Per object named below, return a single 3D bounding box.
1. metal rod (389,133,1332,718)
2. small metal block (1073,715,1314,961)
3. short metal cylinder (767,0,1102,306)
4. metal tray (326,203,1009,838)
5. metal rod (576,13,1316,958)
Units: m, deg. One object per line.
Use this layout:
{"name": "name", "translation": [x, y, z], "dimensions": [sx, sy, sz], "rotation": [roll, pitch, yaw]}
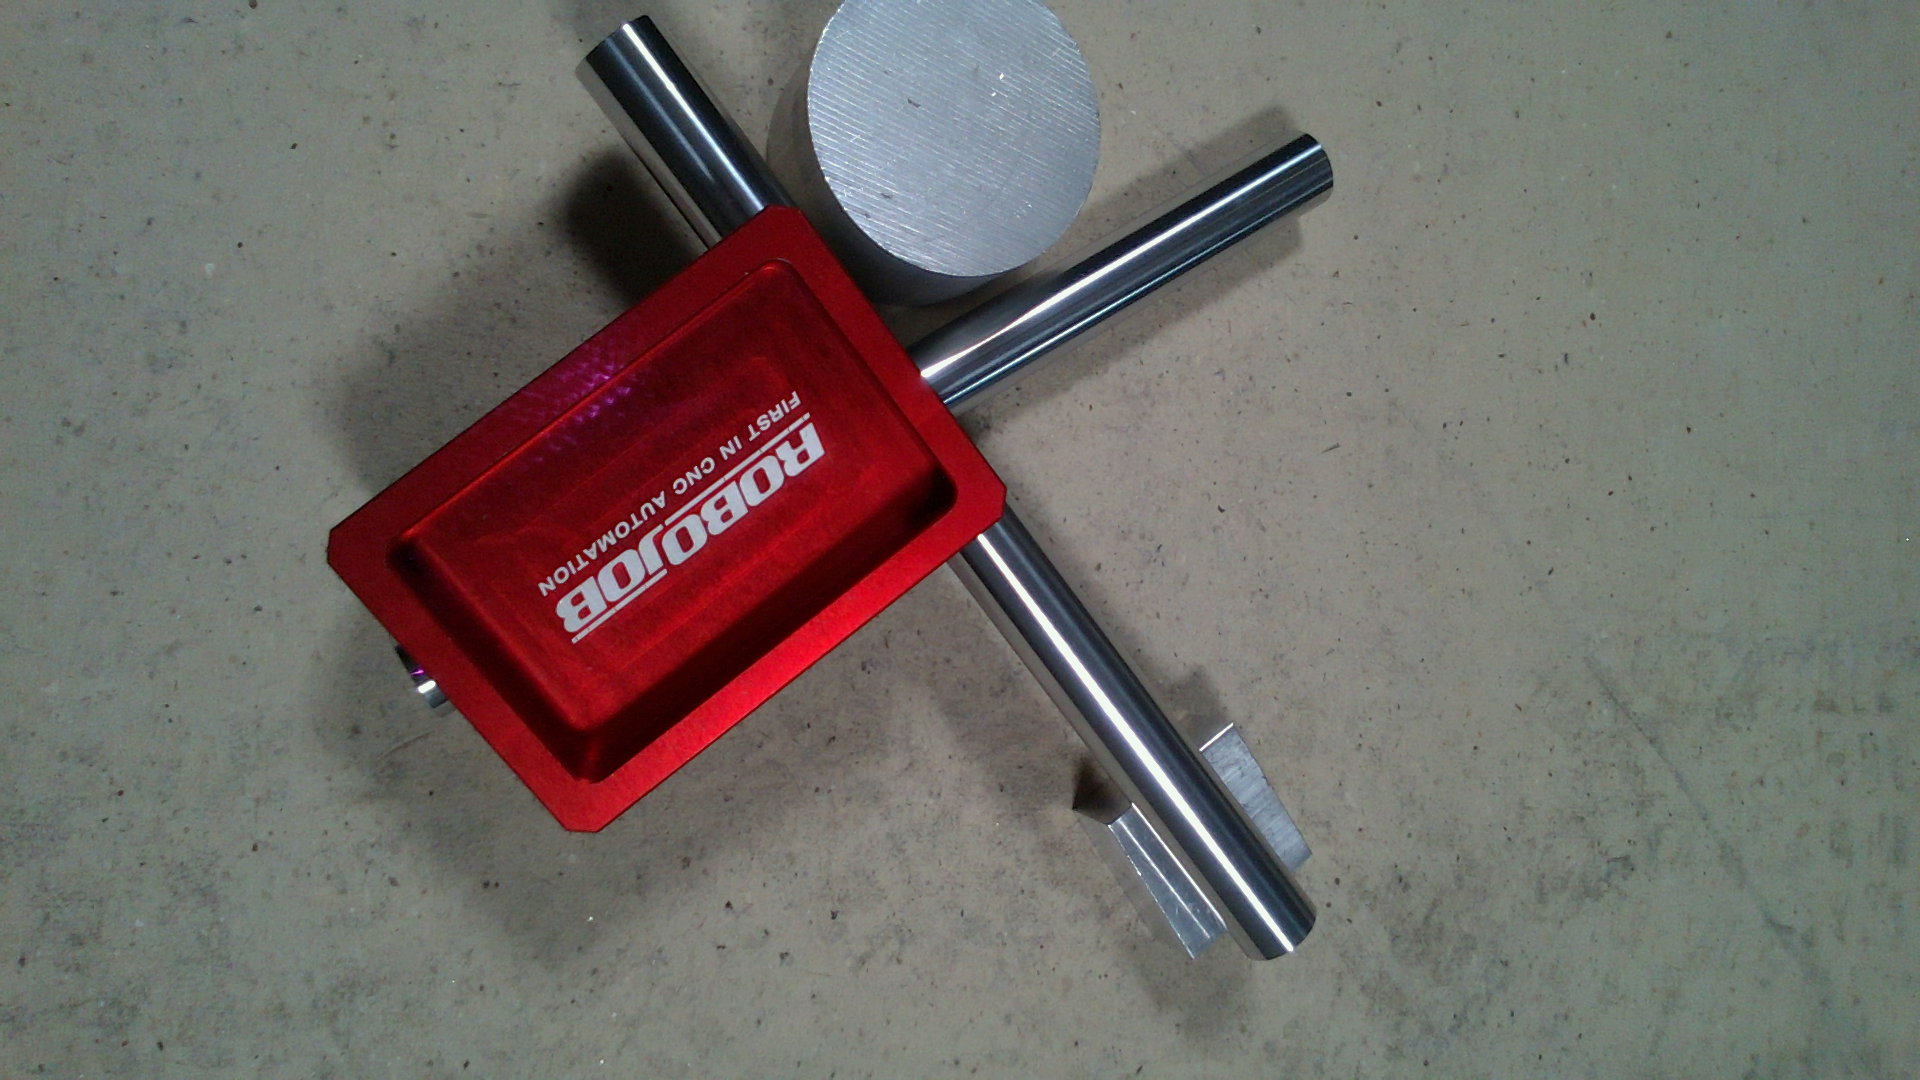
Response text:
{"name": "metal rod", "translation": [-0.014, -0.041, 0.388], "dimensions": [0.301, 0.025, 0.025], "rotation": [-31, 100, -17]}
{"name": "small metal block", "translation": [0.071, 0.089, 0.419], "dimensions": [0.050, 0.025, 0.050], "rotation": [-35, 101, -16]}
{"name": "short metal cylinder", "translation": [-0.008, -0.108, 0.376], "dimensions": [0.080, 0.050, 0.080], "rotation": [0, 90, -20]}
{"name": "metal tray", "translation": [-0.066, -0.005, 0.326], "dimensions": [0.130, 0.030, 0.090], "rotation": [-38, 102, -4]}
{"name": "metal rod", "translation": [0.004, -0.004, 0.369], "dimensions": [0.025, 0.025, 0.300], "rotation": [-41, 103, -15]}
